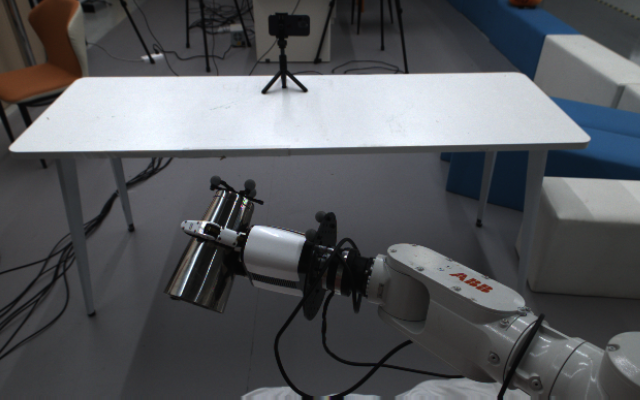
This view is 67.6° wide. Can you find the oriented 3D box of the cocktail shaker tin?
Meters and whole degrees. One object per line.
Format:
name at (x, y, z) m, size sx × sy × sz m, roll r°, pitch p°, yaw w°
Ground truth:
cocktail shaker tin at (-0.162, 0.074, 0.731) m, size 0.093 × 0.093 × 0.170 m, roll 13°, pitch 70°, yaw 16°
